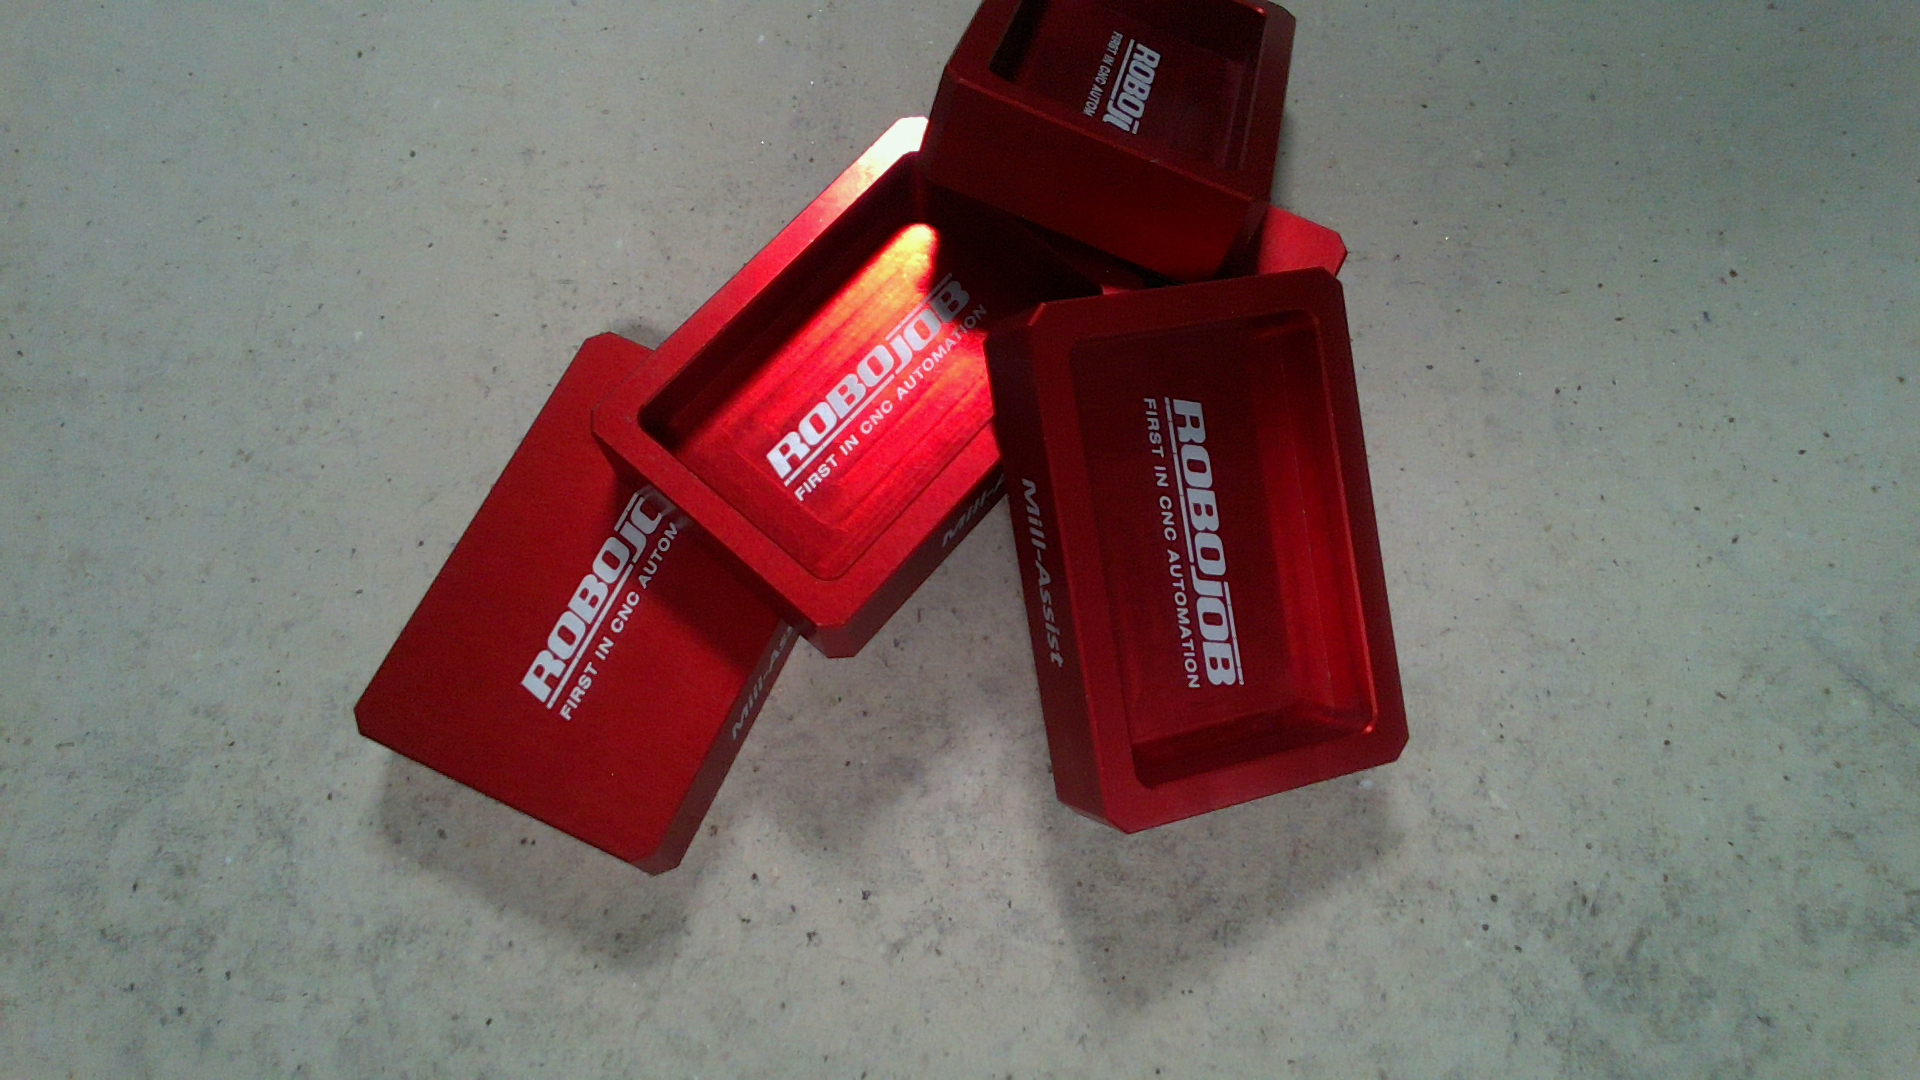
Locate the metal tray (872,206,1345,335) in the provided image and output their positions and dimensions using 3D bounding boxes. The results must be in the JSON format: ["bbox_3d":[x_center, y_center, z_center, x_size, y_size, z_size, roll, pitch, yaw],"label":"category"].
[{"bbox_3d":[0.039,-0.075,0.419,0.130,0.030,0.090,26,72,9],"label":"metal tray"}]

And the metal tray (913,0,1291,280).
[{"bbox_3d":[0.047,-0.133,0.404,0.090,0.030,0.130,22,44,-3],"label":"metal tray"}]

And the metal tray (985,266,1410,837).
[{"bbox_3d":[0.062,0.001,0.356,0.090,0.030,0.130,-11,94,-21],"label":"metal tray"}]

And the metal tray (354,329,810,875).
[{"bbox_3d":[-0.093,0.015,0.386,0.090,0.030,0.130,23,72,8],"label":"metal tray"}]

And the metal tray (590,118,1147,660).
[{"bbox_3d":[-0.023,-0.044,0.376,0.090,0.030,0.130,39,75,13],"label":"metal tray"}]
